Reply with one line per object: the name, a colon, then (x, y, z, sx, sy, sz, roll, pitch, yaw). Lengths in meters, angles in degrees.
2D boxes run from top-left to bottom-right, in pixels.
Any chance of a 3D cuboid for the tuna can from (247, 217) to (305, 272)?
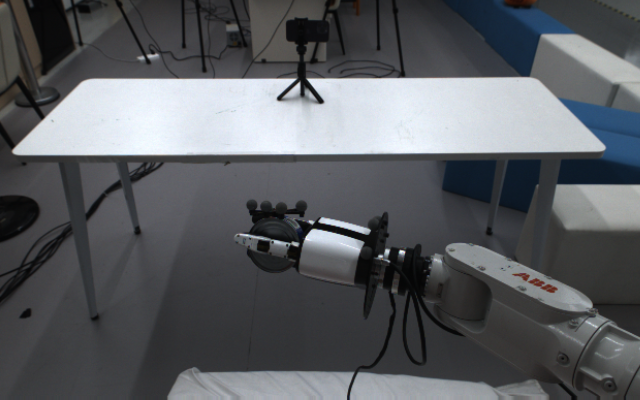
tuna can: (-0.065, 0.067, 0.738, 0.085, 0.085, 0.034, 12, 8, 14)
